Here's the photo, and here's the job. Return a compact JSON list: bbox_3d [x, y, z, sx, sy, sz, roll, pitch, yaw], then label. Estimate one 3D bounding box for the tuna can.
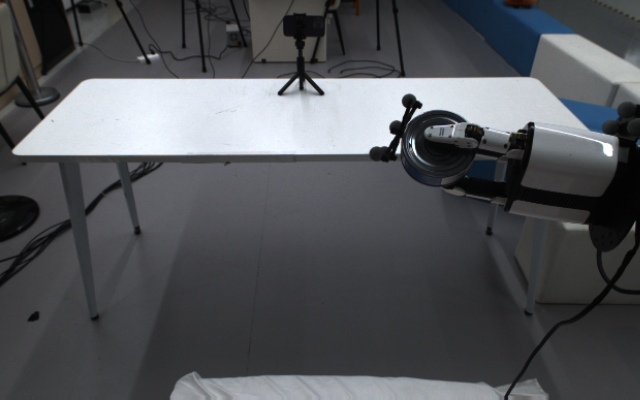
[{"bbox_3d":[0.139,-0.063,0.564,0.085,0.034,0.085,-2,71,5],"label":"tuna can"}]
